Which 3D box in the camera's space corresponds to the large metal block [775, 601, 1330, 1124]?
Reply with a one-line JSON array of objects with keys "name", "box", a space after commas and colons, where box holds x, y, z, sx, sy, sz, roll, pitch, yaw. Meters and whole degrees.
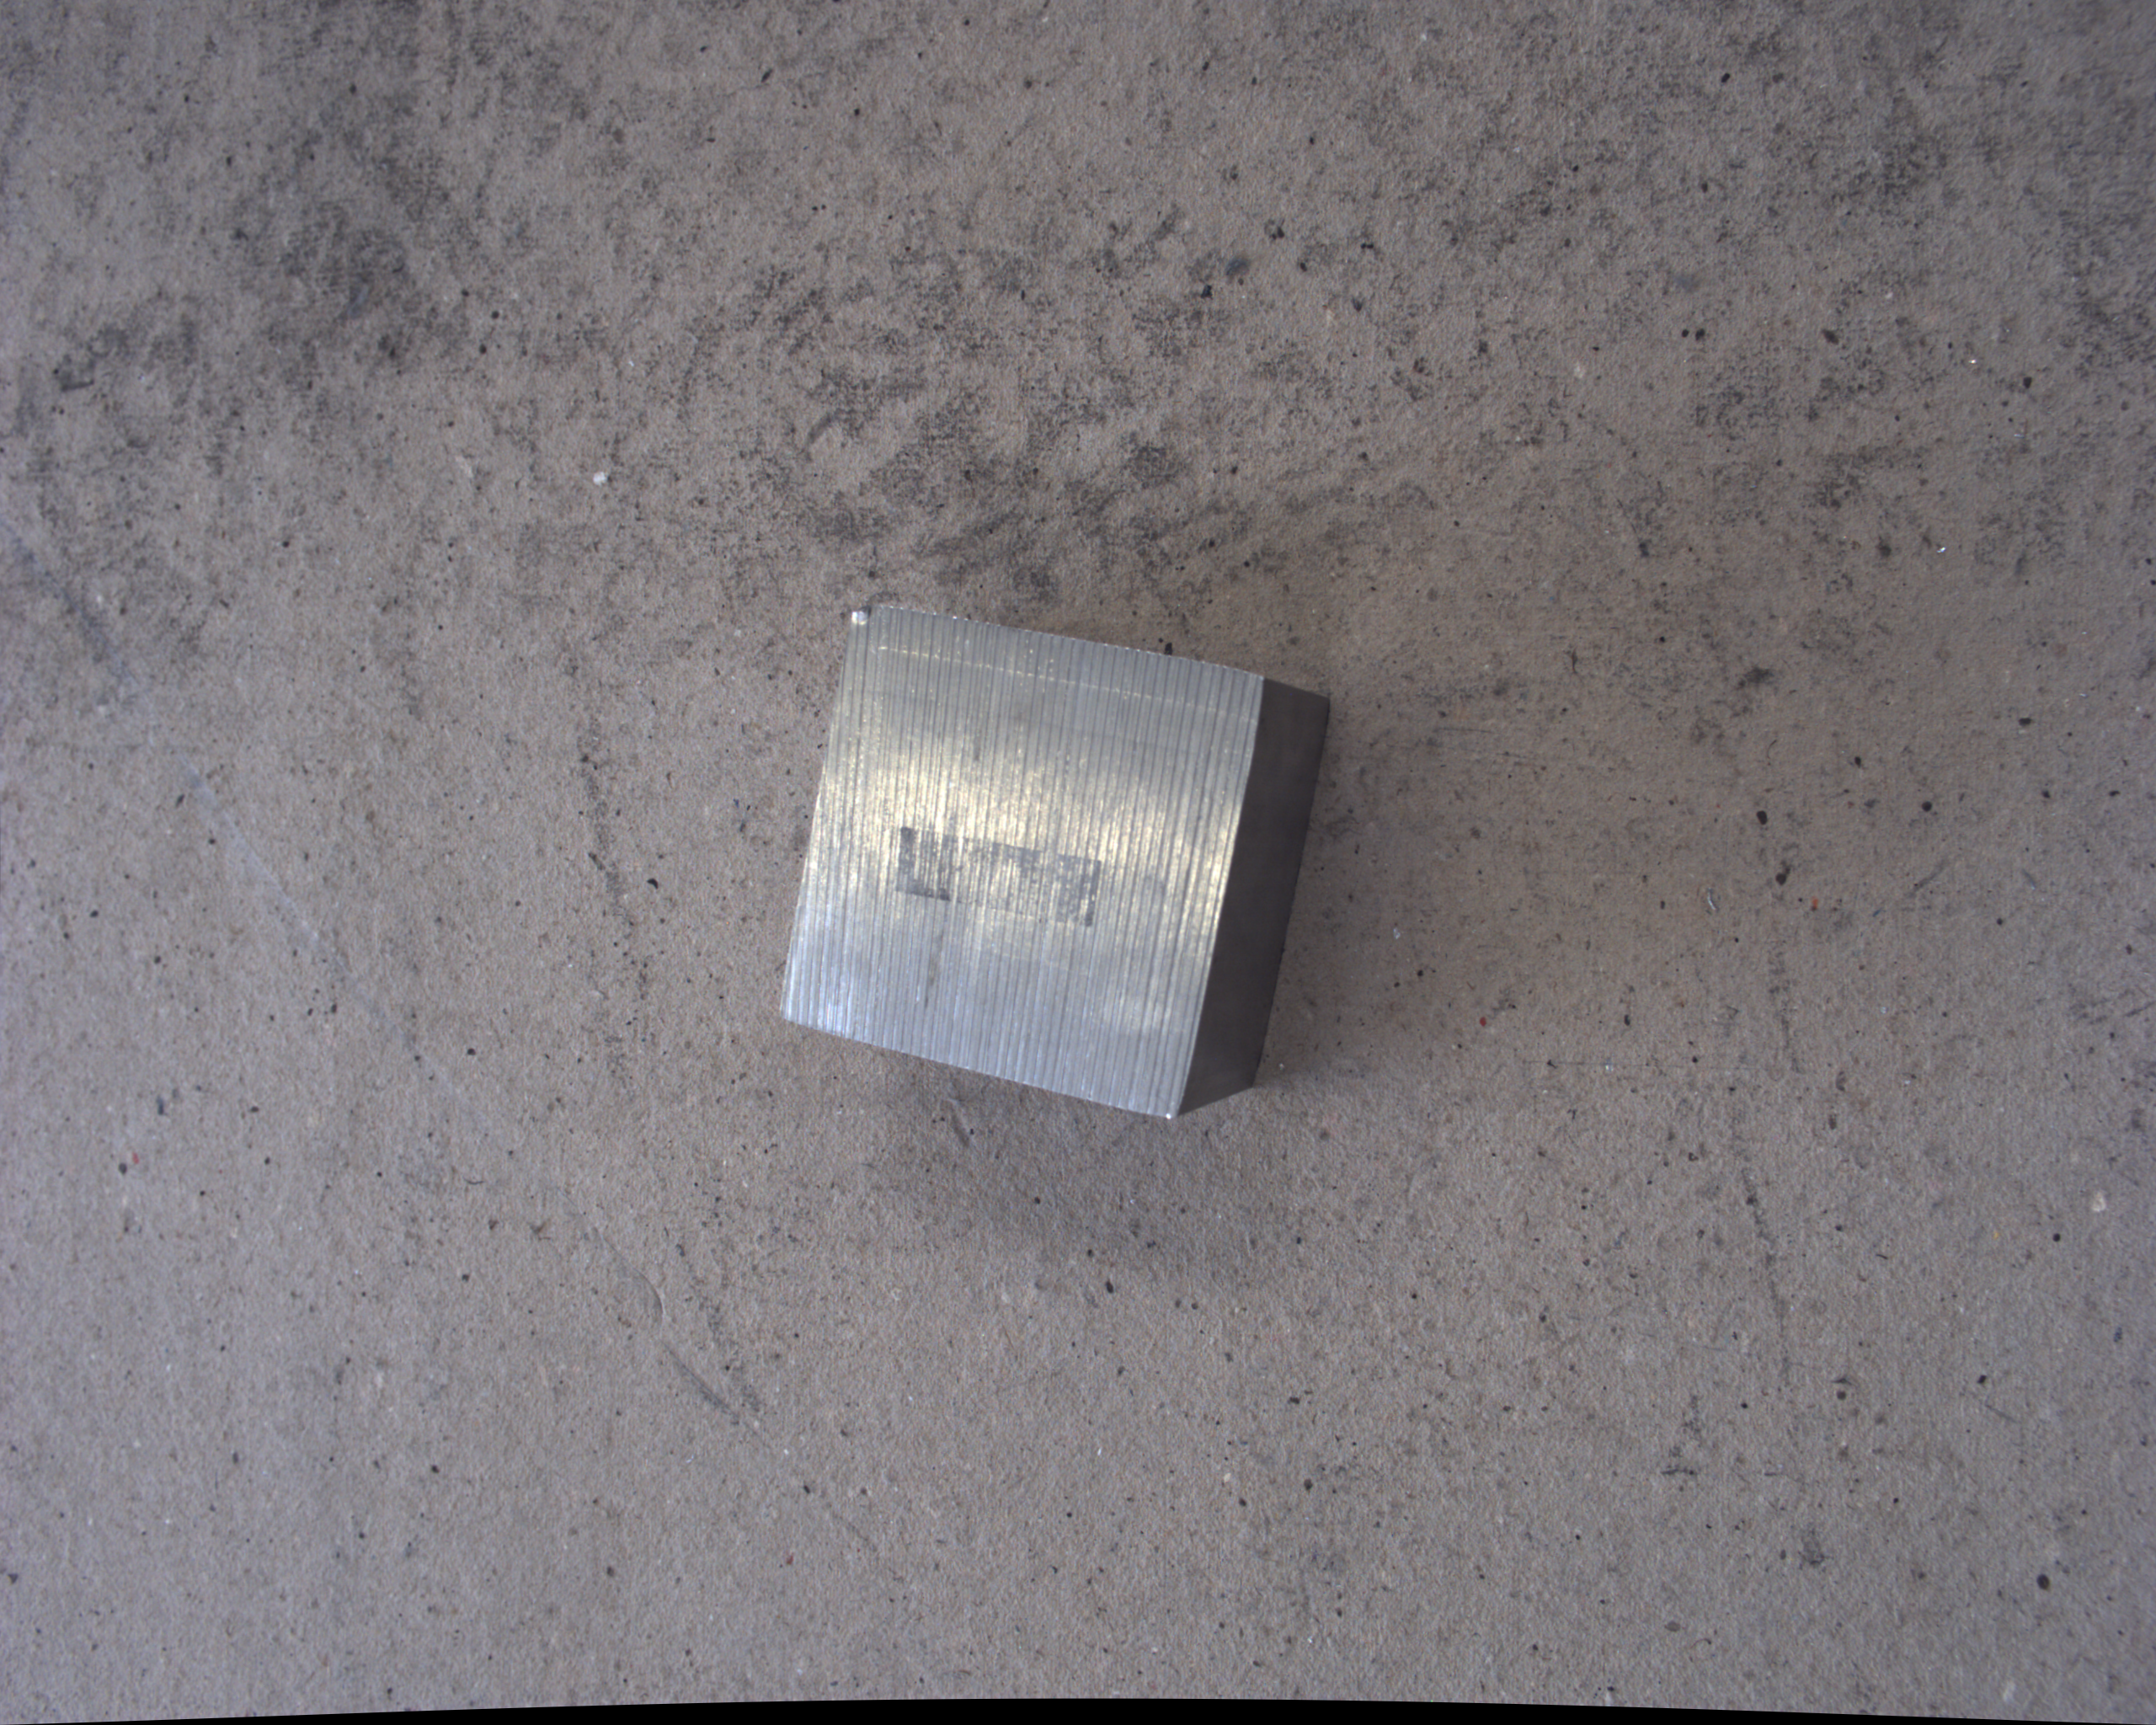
[{"name": "large metal block", "box": [-0.004, -0.002, 0.399, 0.080, 0.050, 0.080, 12, 94, 18]}]
